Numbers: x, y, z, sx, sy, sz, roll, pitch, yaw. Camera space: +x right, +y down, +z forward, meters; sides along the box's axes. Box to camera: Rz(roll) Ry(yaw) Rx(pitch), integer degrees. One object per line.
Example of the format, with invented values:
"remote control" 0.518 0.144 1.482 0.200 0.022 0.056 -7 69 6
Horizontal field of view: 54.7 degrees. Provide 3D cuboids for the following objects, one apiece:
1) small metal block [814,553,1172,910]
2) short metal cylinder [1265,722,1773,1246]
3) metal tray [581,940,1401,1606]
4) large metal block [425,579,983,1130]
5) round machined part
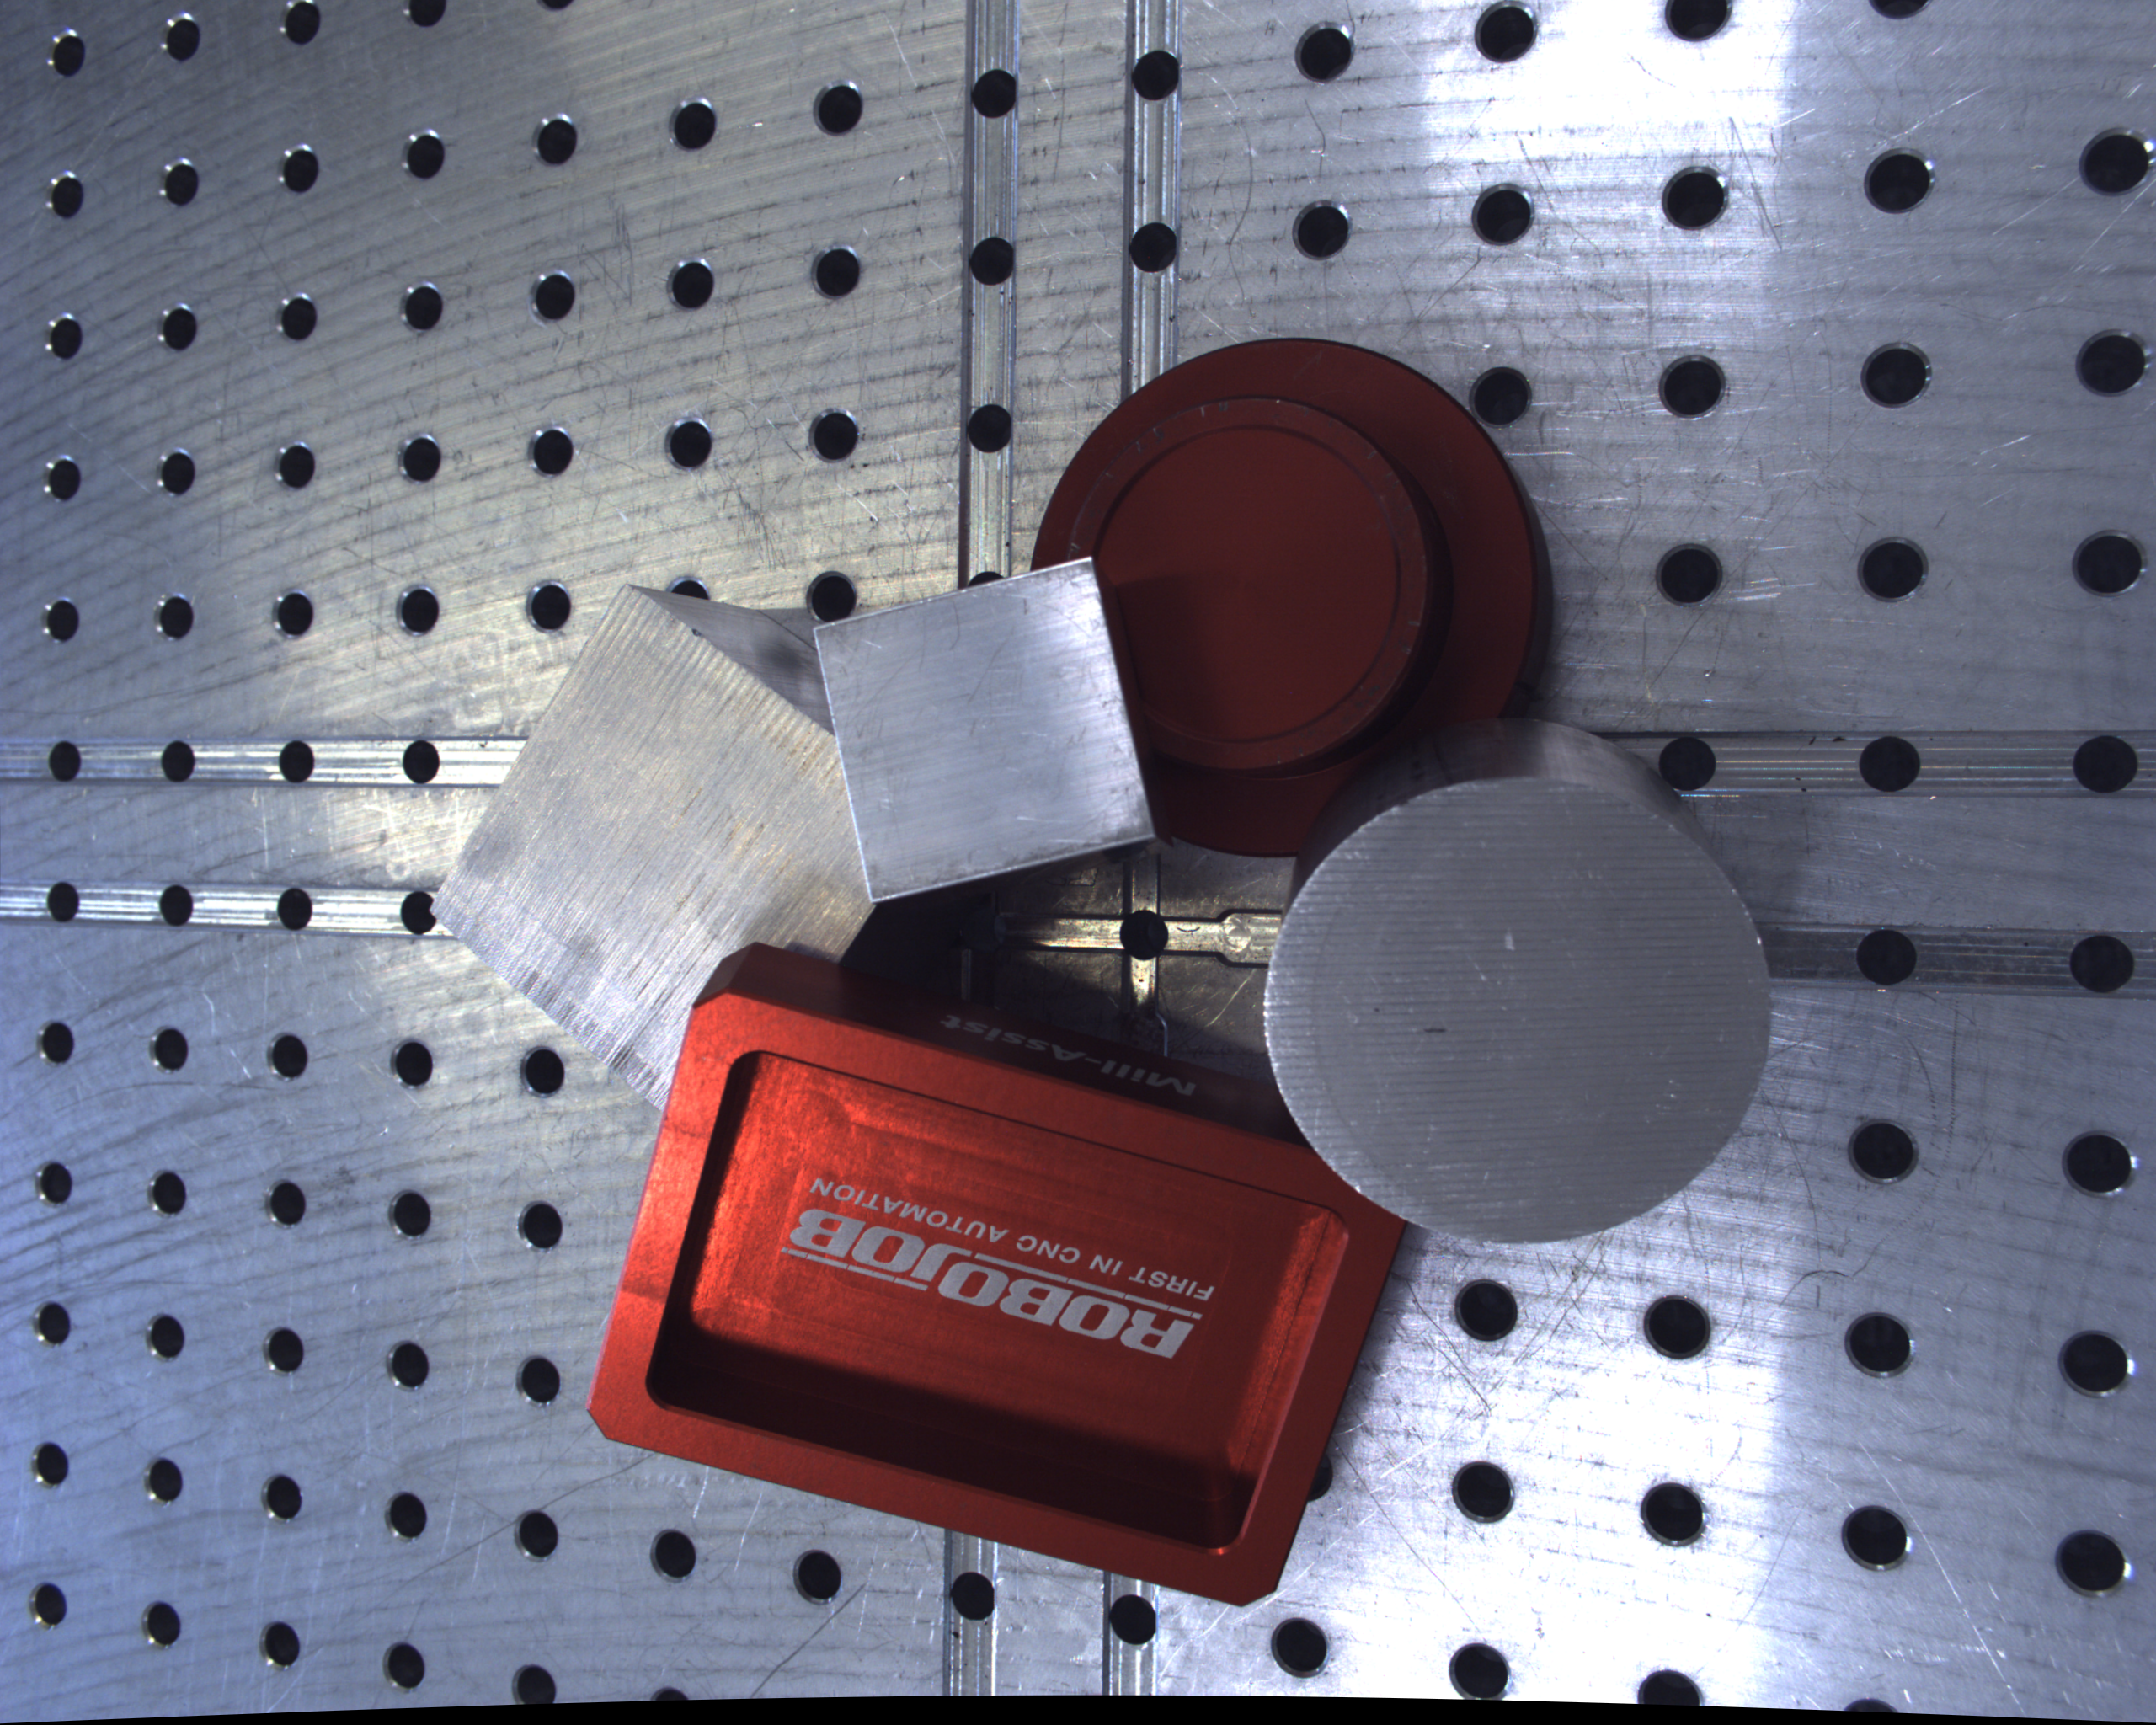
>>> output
"small metal block" -0.014 -0.022 0.368 0.050 0.025 0.050 -13 83 8
"short metal cylinder" 0.074 0.019 0.361 0.080 0.050 0.079 2 104 8
"metal tray" -0.015 0.076 0.385 0.131 0.030 0.089 16 103 -3
"large metal block" -0.070 0.000 0.424 0.080 0.050 0.080 37 102 16
"round machined part" 0.036 -0.050 0.390 0.098 0.042 0.097 0 90 20
